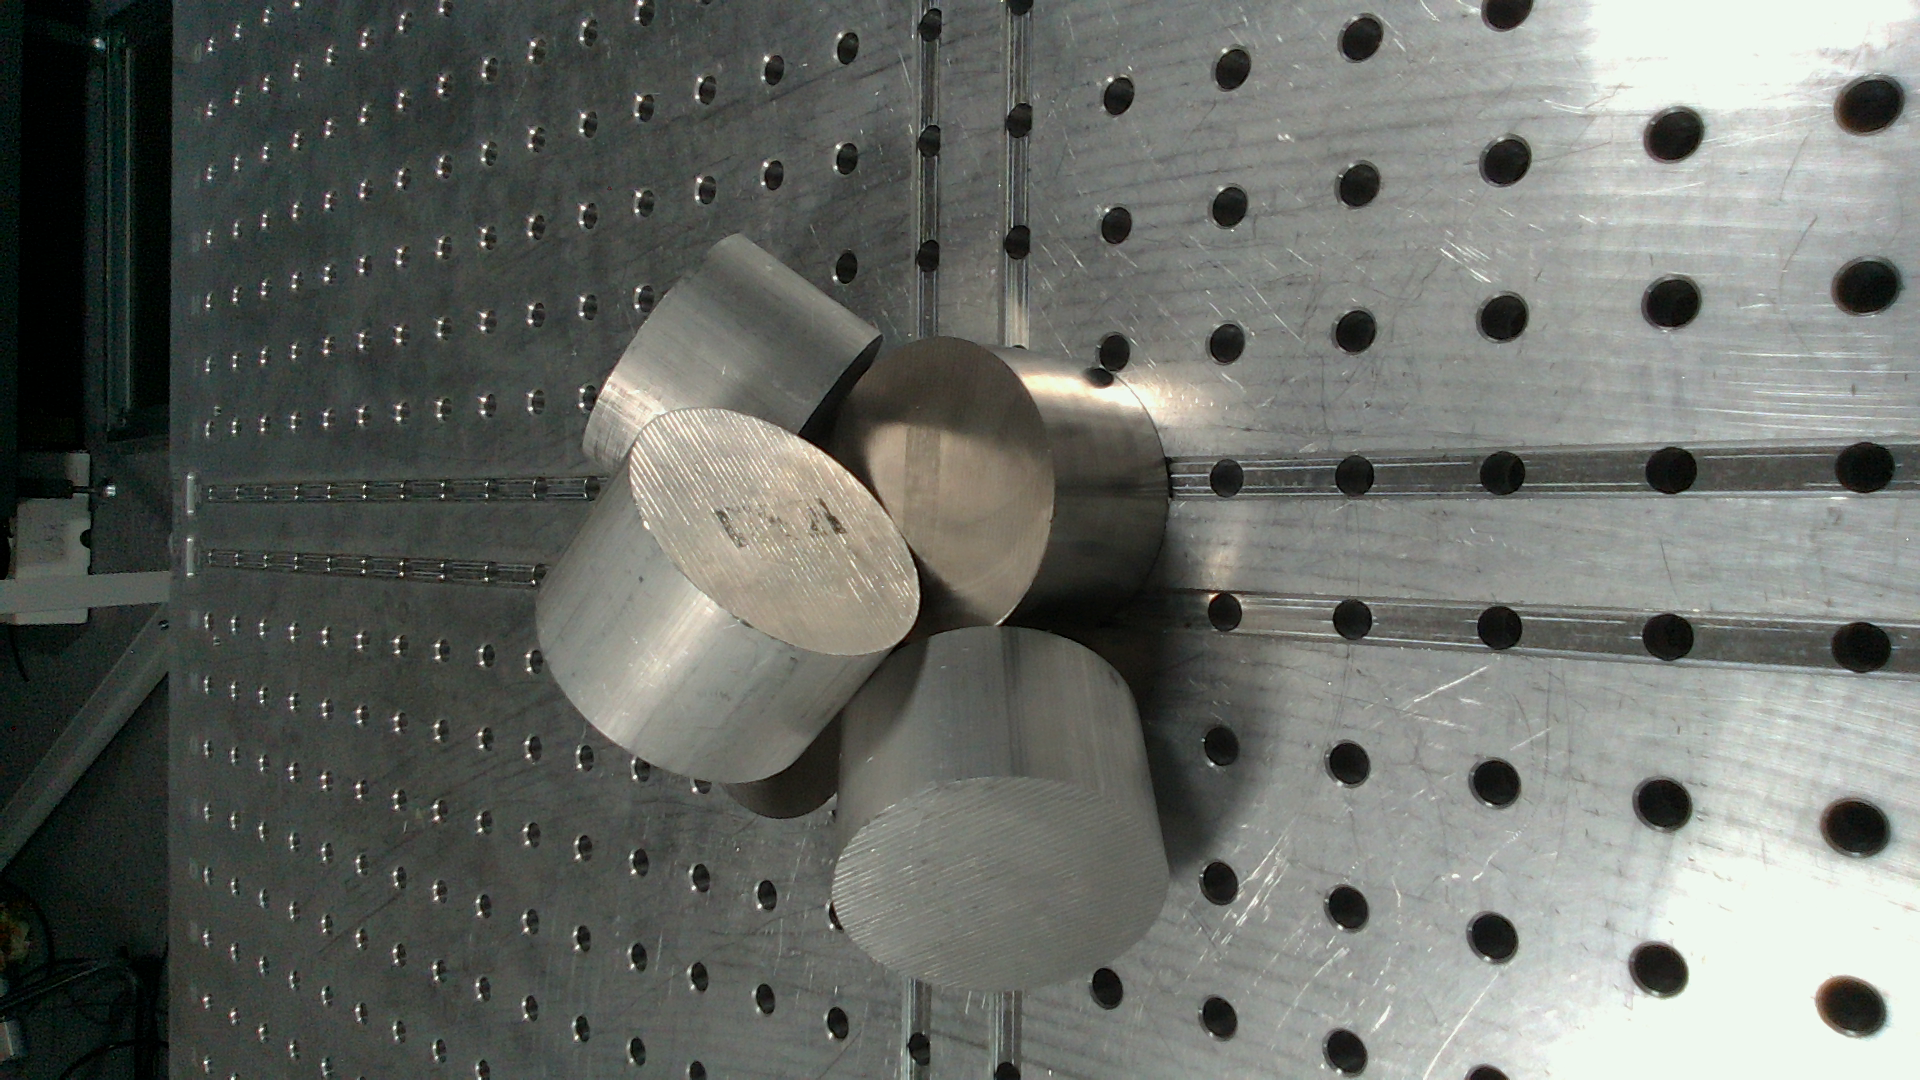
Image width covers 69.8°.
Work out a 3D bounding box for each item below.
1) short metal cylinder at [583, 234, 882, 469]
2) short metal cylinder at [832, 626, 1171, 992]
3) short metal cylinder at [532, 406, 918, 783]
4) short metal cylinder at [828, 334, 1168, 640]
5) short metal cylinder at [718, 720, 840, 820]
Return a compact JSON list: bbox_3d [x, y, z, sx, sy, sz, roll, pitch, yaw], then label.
[{"bbox_3d":[-0.066,-0.043,0.408,0.050,0.080,0.080,35,116,-2],"label":"short metal cylinder"},{"bbox_3d":[0.009,0.068,0.345,0.080,0.080,0.050,-48,26,29],"label":"short metal cylinder"},{"bbox_3d":[-0.058,0.013,0.343,0.050,0.080,0.080,-49,61,29],"label":"short metal cylinder"},{"bbox_3d":[0.009,-0.013,0.373,0.080,0.050,0.080,0,90,40],"label":"short metal cylinder"},{"bbox_3d":[-0.038,0.040,0.413,0.080,0.050,0.080,0,90,40],"label":"short metal cylinder"}]
